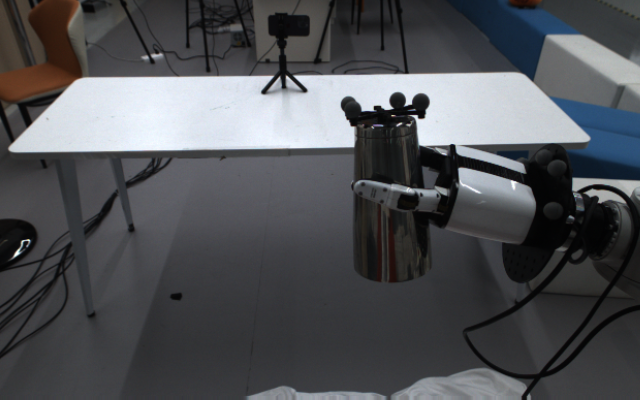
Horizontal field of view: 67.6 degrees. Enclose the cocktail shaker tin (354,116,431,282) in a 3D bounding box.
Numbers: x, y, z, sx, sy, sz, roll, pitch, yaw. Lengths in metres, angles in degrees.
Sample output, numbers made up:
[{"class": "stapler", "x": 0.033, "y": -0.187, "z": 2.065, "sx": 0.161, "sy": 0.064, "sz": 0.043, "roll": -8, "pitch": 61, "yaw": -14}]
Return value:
[{"class": "cocktail shaker tin", "x": 0.079, "y": -0.004, "z": 0.544, "sx": 0.093, "sy": 0.170, "sz": 0.093, "roll": -6, "pitch": 19, "yaw": 2}]
